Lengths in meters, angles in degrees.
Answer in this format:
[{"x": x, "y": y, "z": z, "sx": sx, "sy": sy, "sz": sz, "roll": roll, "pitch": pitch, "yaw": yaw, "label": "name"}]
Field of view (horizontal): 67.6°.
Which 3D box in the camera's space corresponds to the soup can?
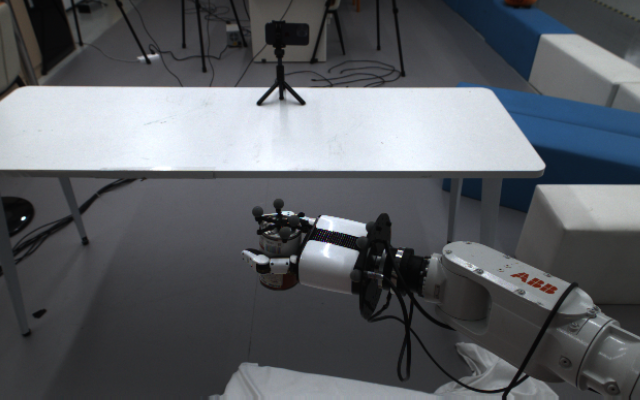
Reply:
[{"x": -0.062, "y": 0.085, "z": 0.767, "sx": 0.067, "sy": 0.101, "sz": 0.067, "roll": 4, "pitch": 30, "yaw": -2, "label": "soup can"}]
